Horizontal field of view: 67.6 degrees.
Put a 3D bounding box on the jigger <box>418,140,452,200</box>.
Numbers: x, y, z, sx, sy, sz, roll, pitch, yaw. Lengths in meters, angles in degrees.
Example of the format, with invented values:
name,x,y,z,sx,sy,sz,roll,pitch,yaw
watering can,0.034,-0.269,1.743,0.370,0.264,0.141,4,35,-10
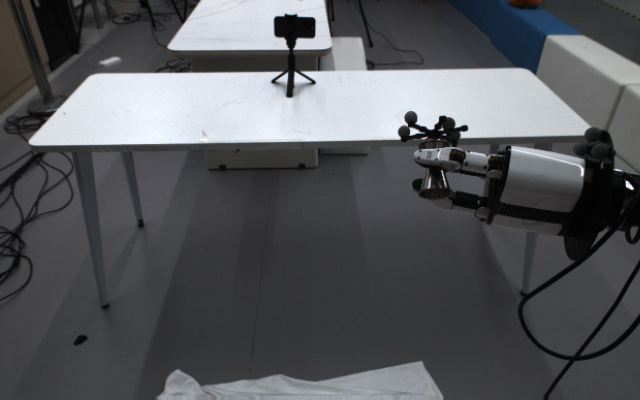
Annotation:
name,x,y,z,sx,sy,sz,roll,pitch,yaw
jigger,0.146,-0.042,0.624,0.043,0.043,0.071,3,72,1
